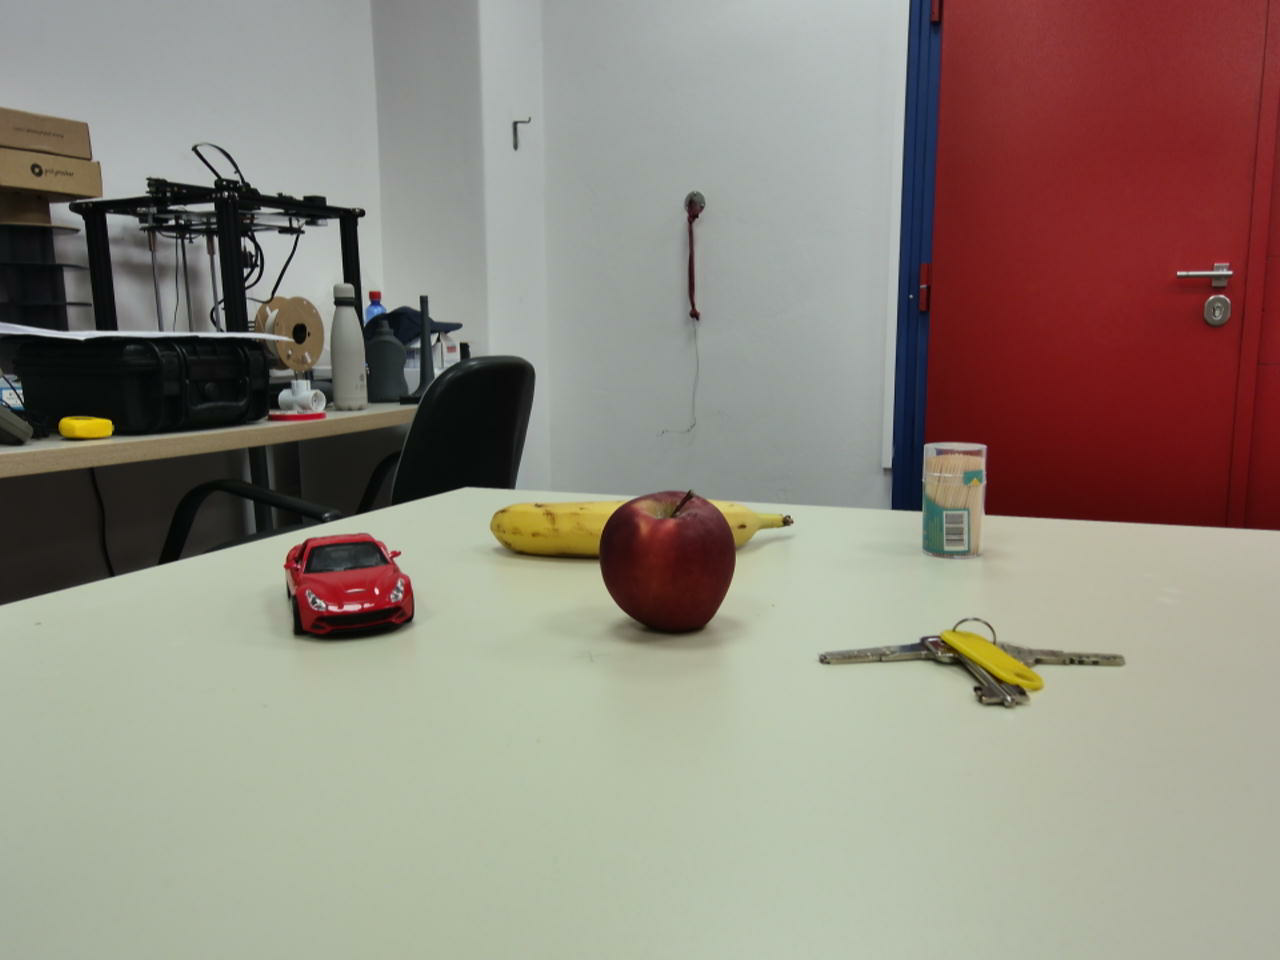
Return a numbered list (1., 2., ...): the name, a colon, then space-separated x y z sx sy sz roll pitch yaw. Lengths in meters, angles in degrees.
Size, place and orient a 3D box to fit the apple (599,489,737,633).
1. apple: 0.015 0.040 0.509 0.070 0.072 0.070 0 6 0
